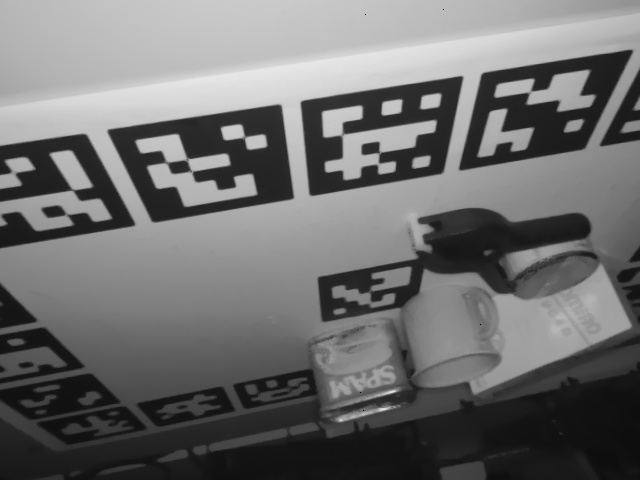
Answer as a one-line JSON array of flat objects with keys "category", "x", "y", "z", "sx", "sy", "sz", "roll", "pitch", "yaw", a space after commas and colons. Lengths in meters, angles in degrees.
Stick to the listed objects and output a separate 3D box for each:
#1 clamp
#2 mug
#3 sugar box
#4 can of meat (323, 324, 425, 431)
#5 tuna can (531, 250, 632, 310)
[{"category": "clamp", "x": 0.163, "y": 0.002, "z": 0.601, "sx": 0.167, "sy": 0.037, "sz": 0.120, "roll": 19, "pitch": 139, "yaw": -29}, {"category": "mug", "x": 0.155, "y": 0.104, "z": 0.683, "sx": 0.094, "sy": 0.082, "sz": 0.115, "roll": 8, "pitch": 138, "yaw": -24}, {"category": "sugar box", "x": 0.246, "y": 0.098, "z": 0.705, "sx": 0.174, "sy": 0.093, "sz": 0.046, "roll": -31, "pitch": 141, "yaw": 27}, {"category": "can of meat", "x": 0.056, "y": 0.142, "z": 0.719, "sx": 0.102, "sy": 0.084, "sz": 0.057, "roll": -12, "pitch": 145, "yaw": 3}, {"category": "tuna can", "x": 0.243, "y": 0.028, "z": 0.649, "sx": 0.086, "sy": 0.034, "sz": 0.085, "roll": -8, "pitch": 142, "yaw": -5}]
